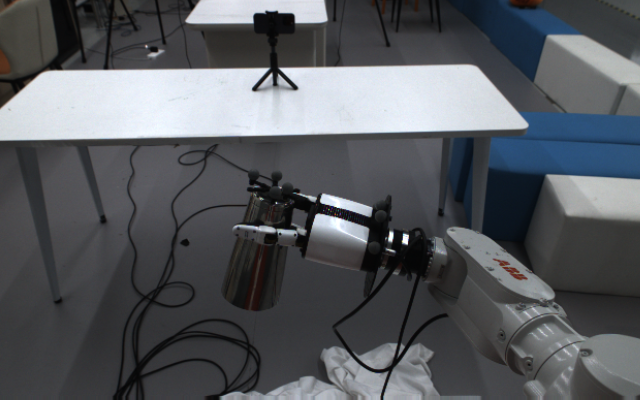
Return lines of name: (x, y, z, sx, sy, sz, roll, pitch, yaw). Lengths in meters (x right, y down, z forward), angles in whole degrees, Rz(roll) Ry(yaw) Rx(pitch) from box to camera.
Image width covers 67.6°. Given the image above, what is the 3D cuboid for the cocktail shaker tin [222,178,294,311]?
cocktail shaker tin: (-0.088, 0.068, 0.738, 0.093, 0.170, 0.093, 14, 18, -5)
